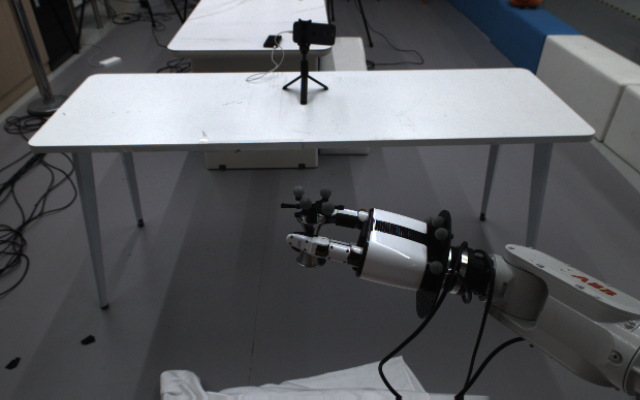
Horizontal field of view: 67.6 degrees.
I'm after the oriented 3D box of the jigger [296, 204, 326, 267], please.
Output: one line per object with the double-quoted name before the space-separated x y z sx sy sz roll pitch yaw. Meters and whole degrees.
"jigger" -0.013 0.055 0.702 0.043 0.071 0.043 1 20 0
